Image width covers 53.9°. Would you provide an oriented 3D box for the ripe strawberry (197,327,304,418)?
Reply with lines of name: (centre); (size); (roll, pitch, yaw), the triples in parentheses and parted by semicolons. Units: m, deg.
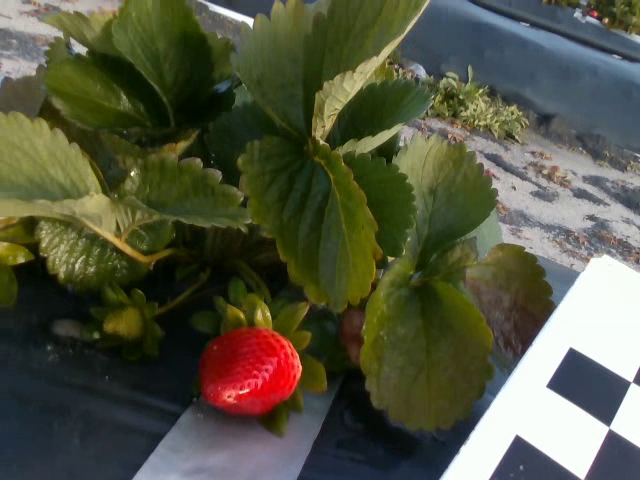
ripe strawberry: (-0.025, 0.045, 0.213); (0.050, 0.036, 0.055); (34, 31, 13)
